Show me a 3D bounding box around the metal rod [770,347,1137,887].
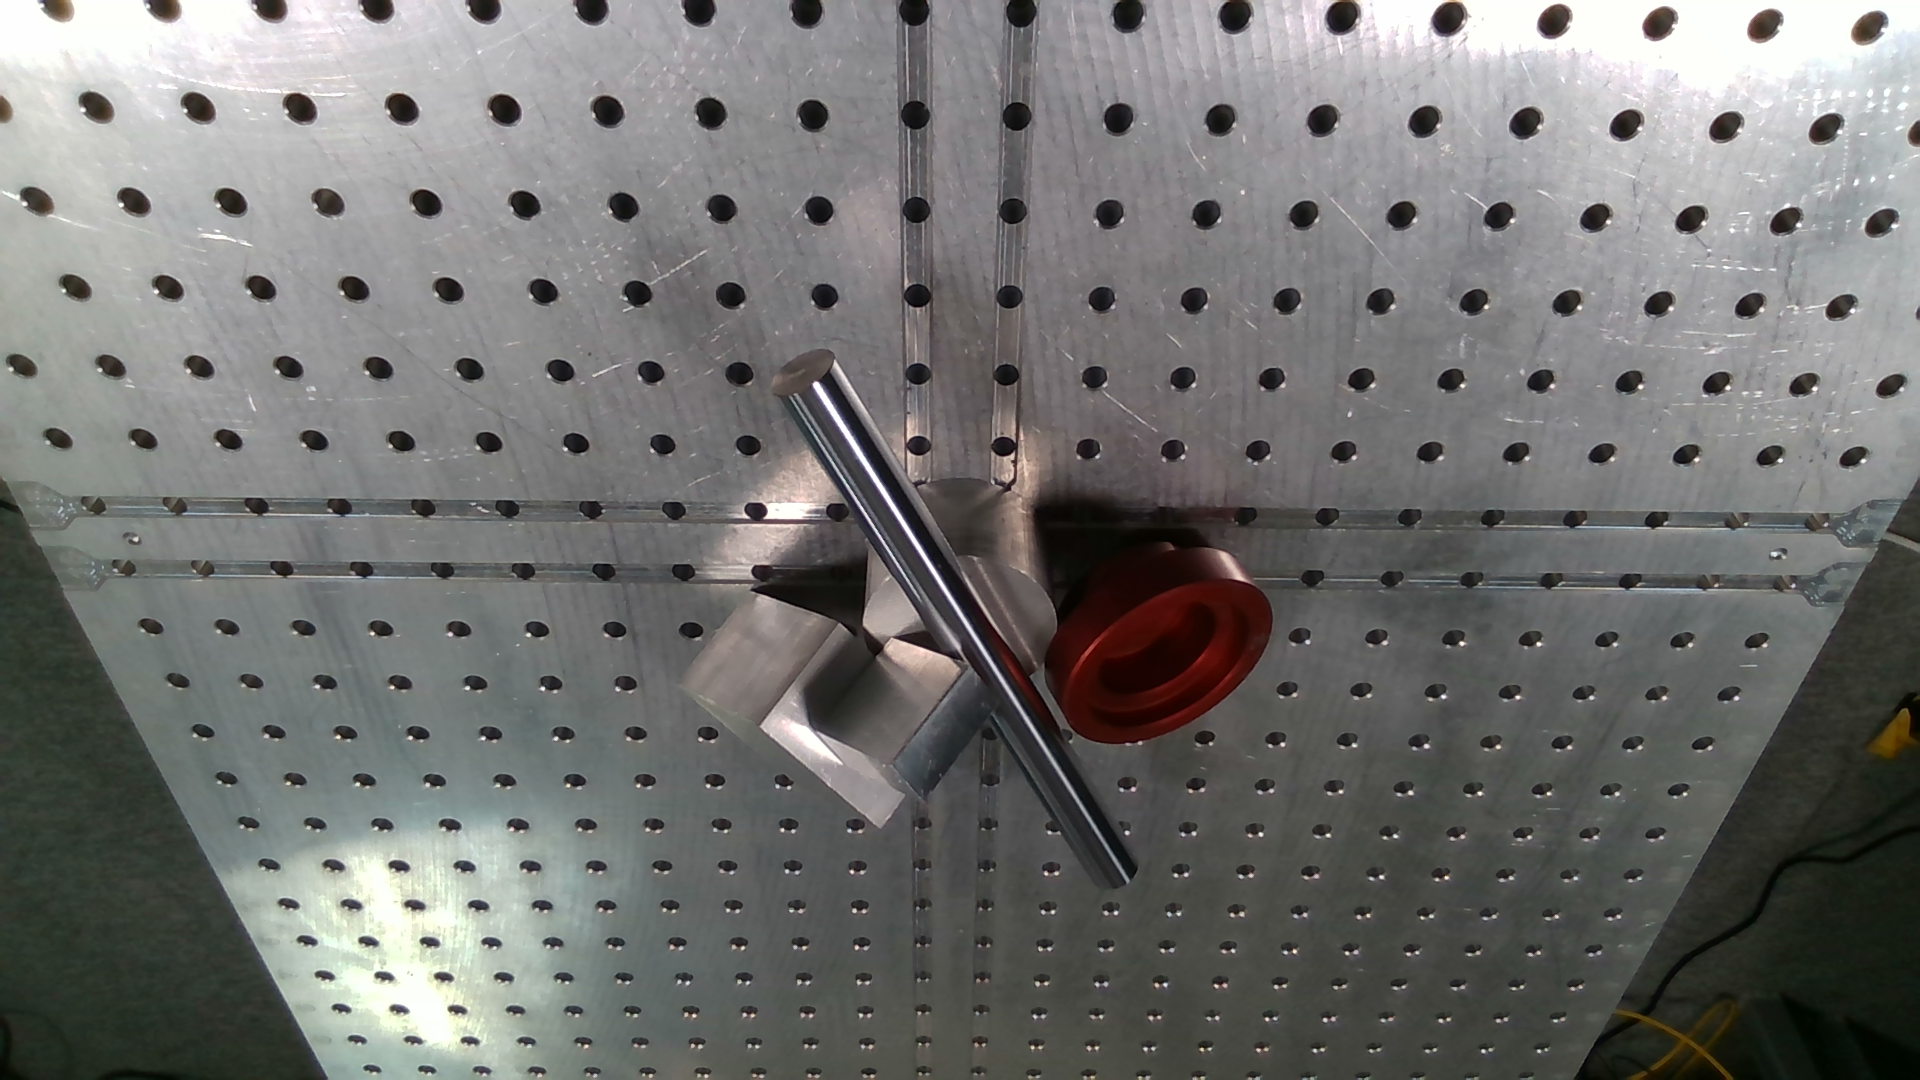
[{"bbox_3d":[0.009,0.047,0.556,0.025,0.025,0.301,-19,127,15],"label":"metal rod"}]

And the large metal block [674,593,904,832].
[{"bbox_3d":[-0.065,0.073,0.598,0.080,0.050,0.080,13,151,53],"label":"large metal block"}]

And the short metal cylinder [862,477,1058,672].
[{"bbox_3d":[0.000,0.020,0.582,0.080,0.050,0.080,0,130,0],"label":"short metal cylinder"}]

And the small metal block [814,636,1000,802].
[{"bbox_3d":[-0.021,0.070,0.546,0.050,0.050,0.025,13,147,48],"label":"small metal block"}]

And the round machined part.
[{"bbox_3d":[0.080,0.039,0.589,0.098,0.042,0.098,-16,138,-15],"label":"round machined part"}]
